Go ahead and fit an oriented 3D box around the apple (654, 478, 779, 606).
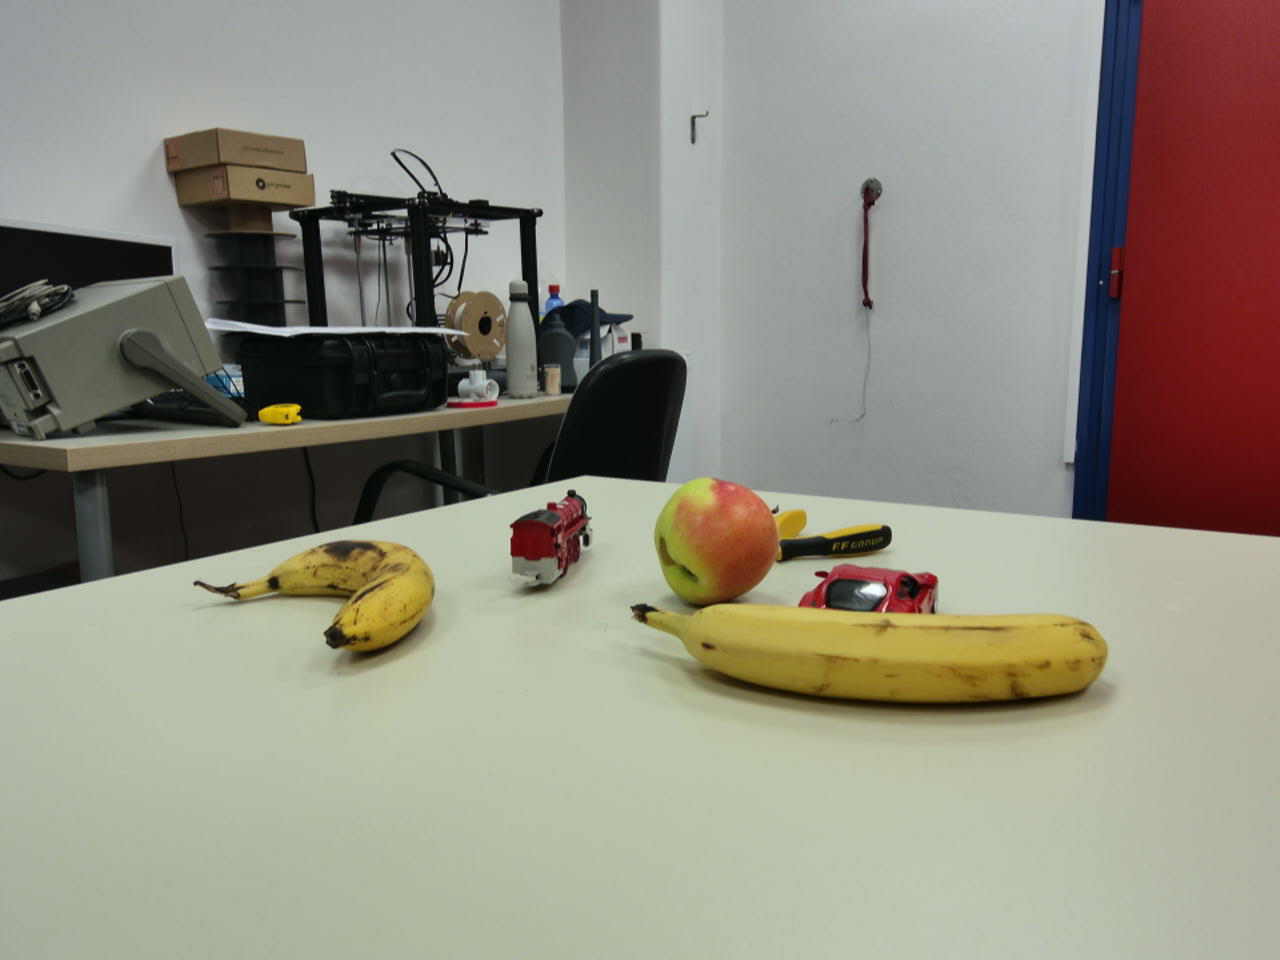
[{"bbox_3d":[0.045,0.037,0.604,0.075,0.074,0.075,1,7,15],"label":"apple"}]
